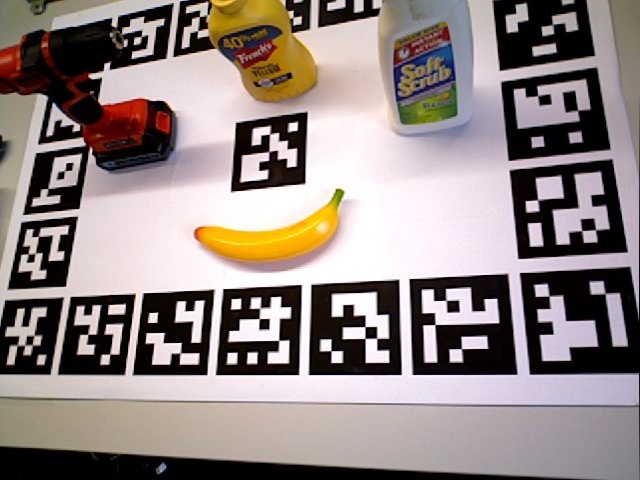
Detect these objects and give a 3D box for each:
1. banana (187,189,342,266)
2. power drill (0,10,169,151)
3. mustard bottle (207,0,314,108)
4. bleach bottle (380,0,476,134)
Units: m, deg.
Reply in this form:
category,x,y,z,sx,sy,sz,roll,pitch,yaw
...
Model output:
category,x,y,z,sx,sy,sz,roll,pitch,yaw
banana,-0.066,-0.006,0.629,0.199,0.039,0.074,-10,72,18
power drill,-0.266,-0.182,0.645,0.186,0.187,0.057,-11,69,18
mustard bottle,-0.076,-0.230,0.629,0.096,0.192,0.058,-11,69,12
bleach bottle,0.097,-0.193,0.524,0.103,0.251,0.067,4,73,18
